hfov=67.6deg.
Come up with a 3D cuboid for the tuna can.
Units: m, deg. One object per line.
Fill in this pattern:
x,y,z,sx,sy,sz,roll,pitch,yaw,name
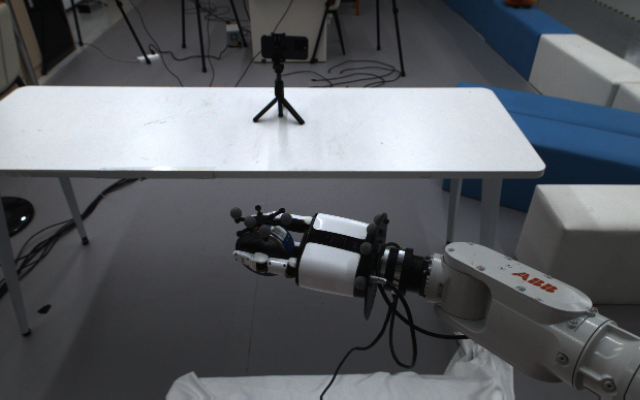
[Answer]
-0.082,0.073,0.739,0.085,0.085,0.034,11,34,12,tuna can
